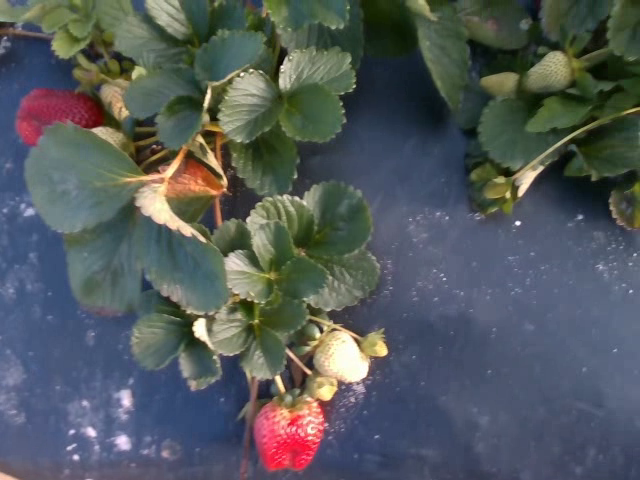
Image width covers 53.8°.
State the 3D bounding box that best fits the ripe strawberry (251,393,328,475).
[{"bbox_3d":[-0.020,0.135,0.413,0.047,0.050,0.035,2,11,9],"label":"ripe strawberry"}]

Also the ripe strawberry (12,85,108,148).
[{"bbox_3d":[-0.203,-0.091,0.478,0.070,0.058,0.057,23,20,-25],"label":"ripe strawberry"}]
